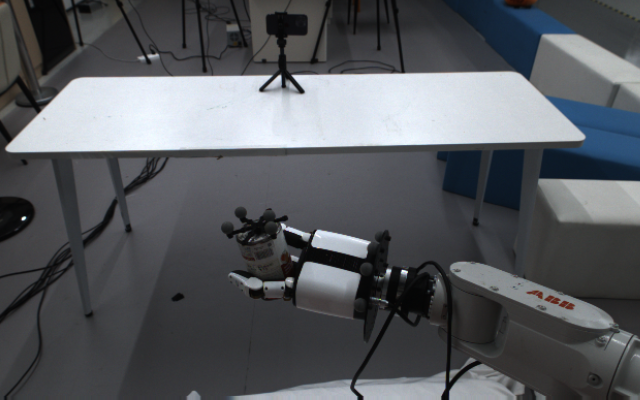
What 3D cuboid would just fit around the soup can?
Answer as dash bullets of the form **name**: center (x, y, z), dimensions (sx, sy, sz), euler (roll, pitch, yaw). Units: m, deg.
- **soup can**: center (-0.075, 0.086, 0.698), dimensions (0.067, 0.101, 0.067), euler (-11, 26, 5)
